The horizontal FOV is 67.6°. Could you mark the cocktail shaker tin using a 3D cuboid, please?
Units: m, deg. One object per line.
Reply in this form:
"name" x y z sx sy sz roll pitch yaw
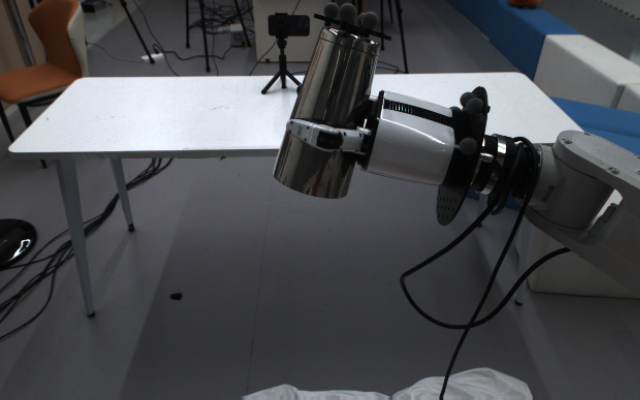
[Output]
"cocktail shaker tin" 0.012 -0.098 0.543 0.093 0.170 0.093 15 20 -5
